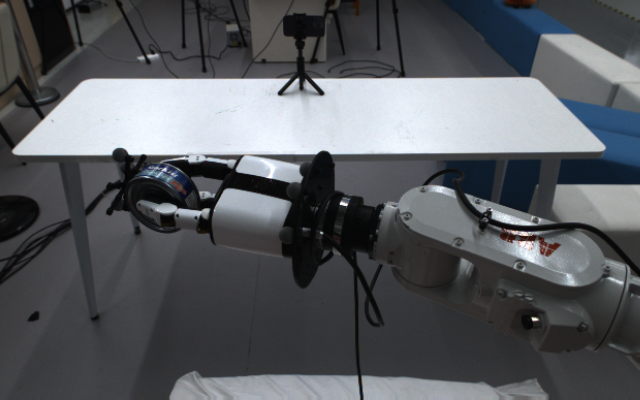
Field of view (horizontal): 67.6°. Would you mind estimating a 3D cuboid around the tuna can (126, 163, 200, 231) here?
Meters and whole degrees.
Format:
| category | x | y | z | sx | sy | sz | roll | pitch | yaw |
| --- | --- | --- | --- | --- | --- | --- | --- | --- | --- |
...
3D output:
| category | x | y | z | sx | sy | sz | roll | pitch | yaw |
| --- | --- | --- | --- | --- | --- | --- | --- | --- | --- |
| tuna can | -0.191 | 0.000 | 0.591 | 0.085 | 0.085 | 0.034 | 9 | 36 | 10 |
